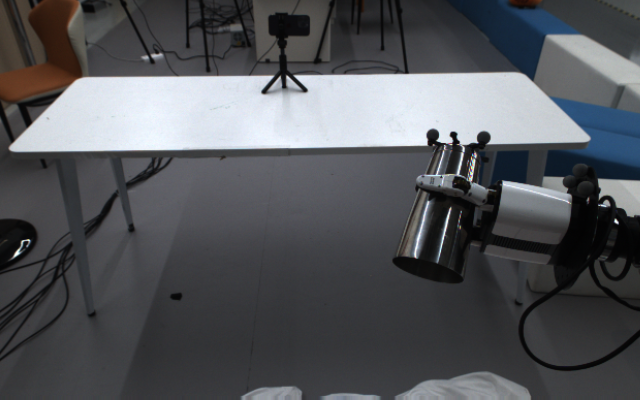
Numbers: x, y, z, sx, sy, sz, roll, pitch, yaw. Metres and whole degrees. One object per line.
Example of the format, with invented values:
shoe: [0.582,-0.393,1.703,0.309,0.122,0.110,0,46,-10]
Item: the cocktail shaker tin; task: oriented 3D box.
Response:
cocktail shaker tin: [0.161,0.013,0.641,0.093,0.093,0.170,14,69,17]
